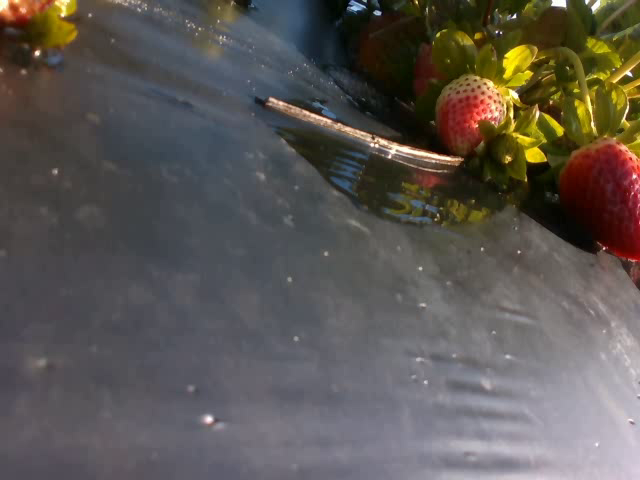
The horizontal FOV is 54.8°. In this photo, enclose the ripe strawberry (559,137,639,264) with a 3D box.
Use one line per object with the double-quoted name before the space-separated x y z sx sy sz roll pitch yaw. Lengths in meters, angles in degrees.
"ripe strawberry" 0.097 -0.014 0.199 0.031 0.046 0.023 12 -36 -35
